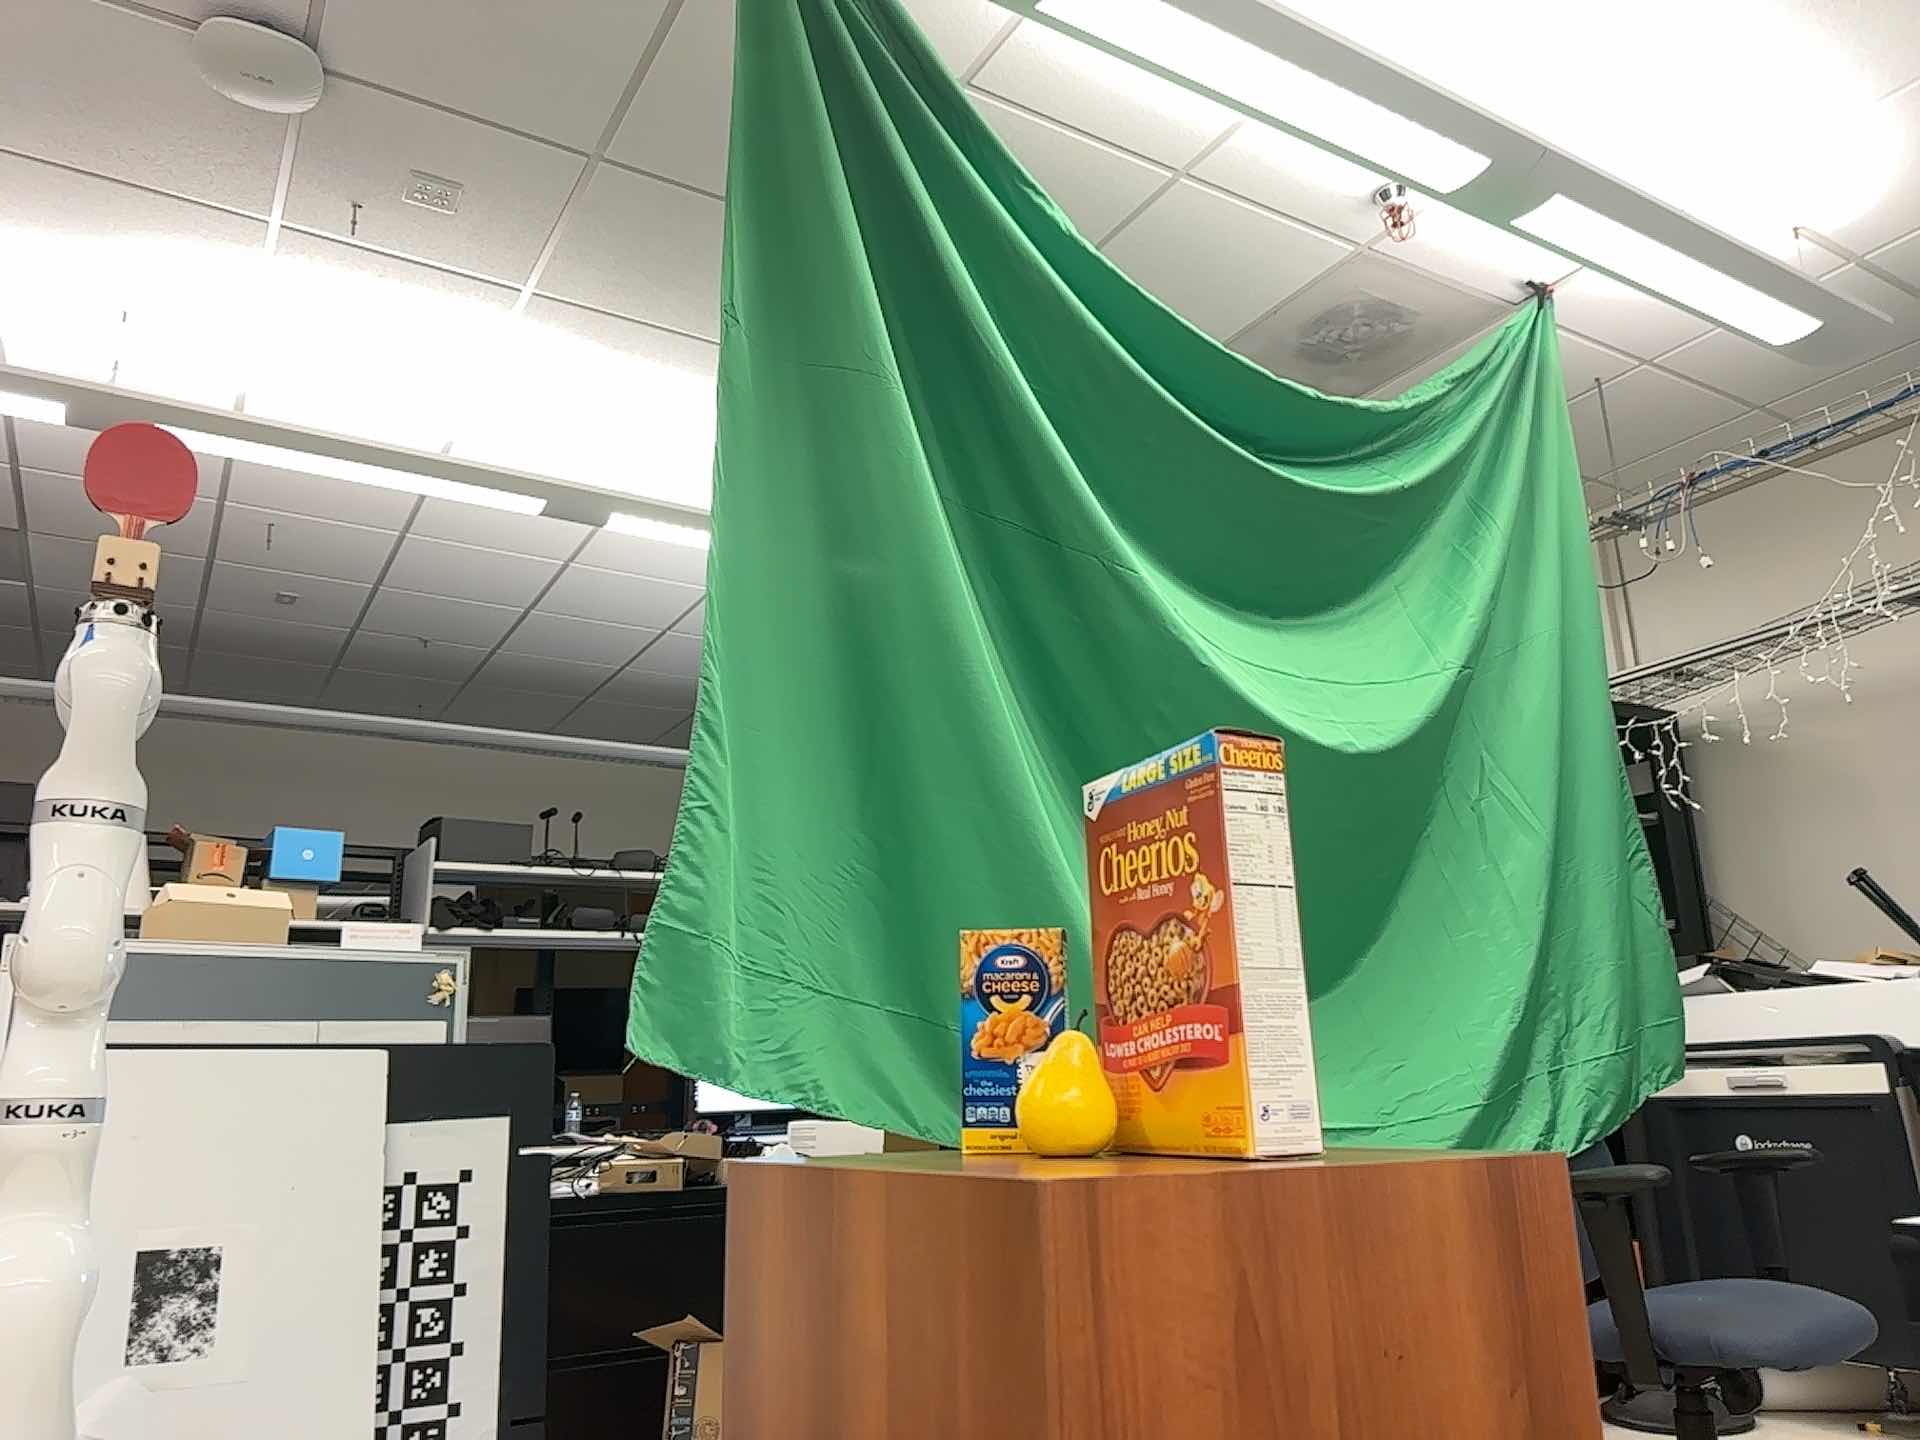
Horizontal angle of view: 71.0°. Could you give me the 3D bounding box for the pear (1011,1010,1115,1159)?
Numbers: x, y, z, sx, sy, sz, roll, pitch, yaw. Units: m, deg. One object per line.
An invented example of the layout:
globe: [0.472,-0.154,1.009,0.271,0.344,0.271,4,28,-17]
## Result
pear: [0.080,0.281,1.045,0.080,0.111,0.080,2,-14,1]

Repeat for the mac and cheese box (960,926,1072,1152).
mac and cheese box: [0.048,0.270,1.145,0.088,0.181,0.035,-5,-14,14]

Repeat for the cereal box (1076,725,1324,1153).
cereal box: [0.176,0.176,1.054,0.065,0.297,0.195,4,-15,-25]
